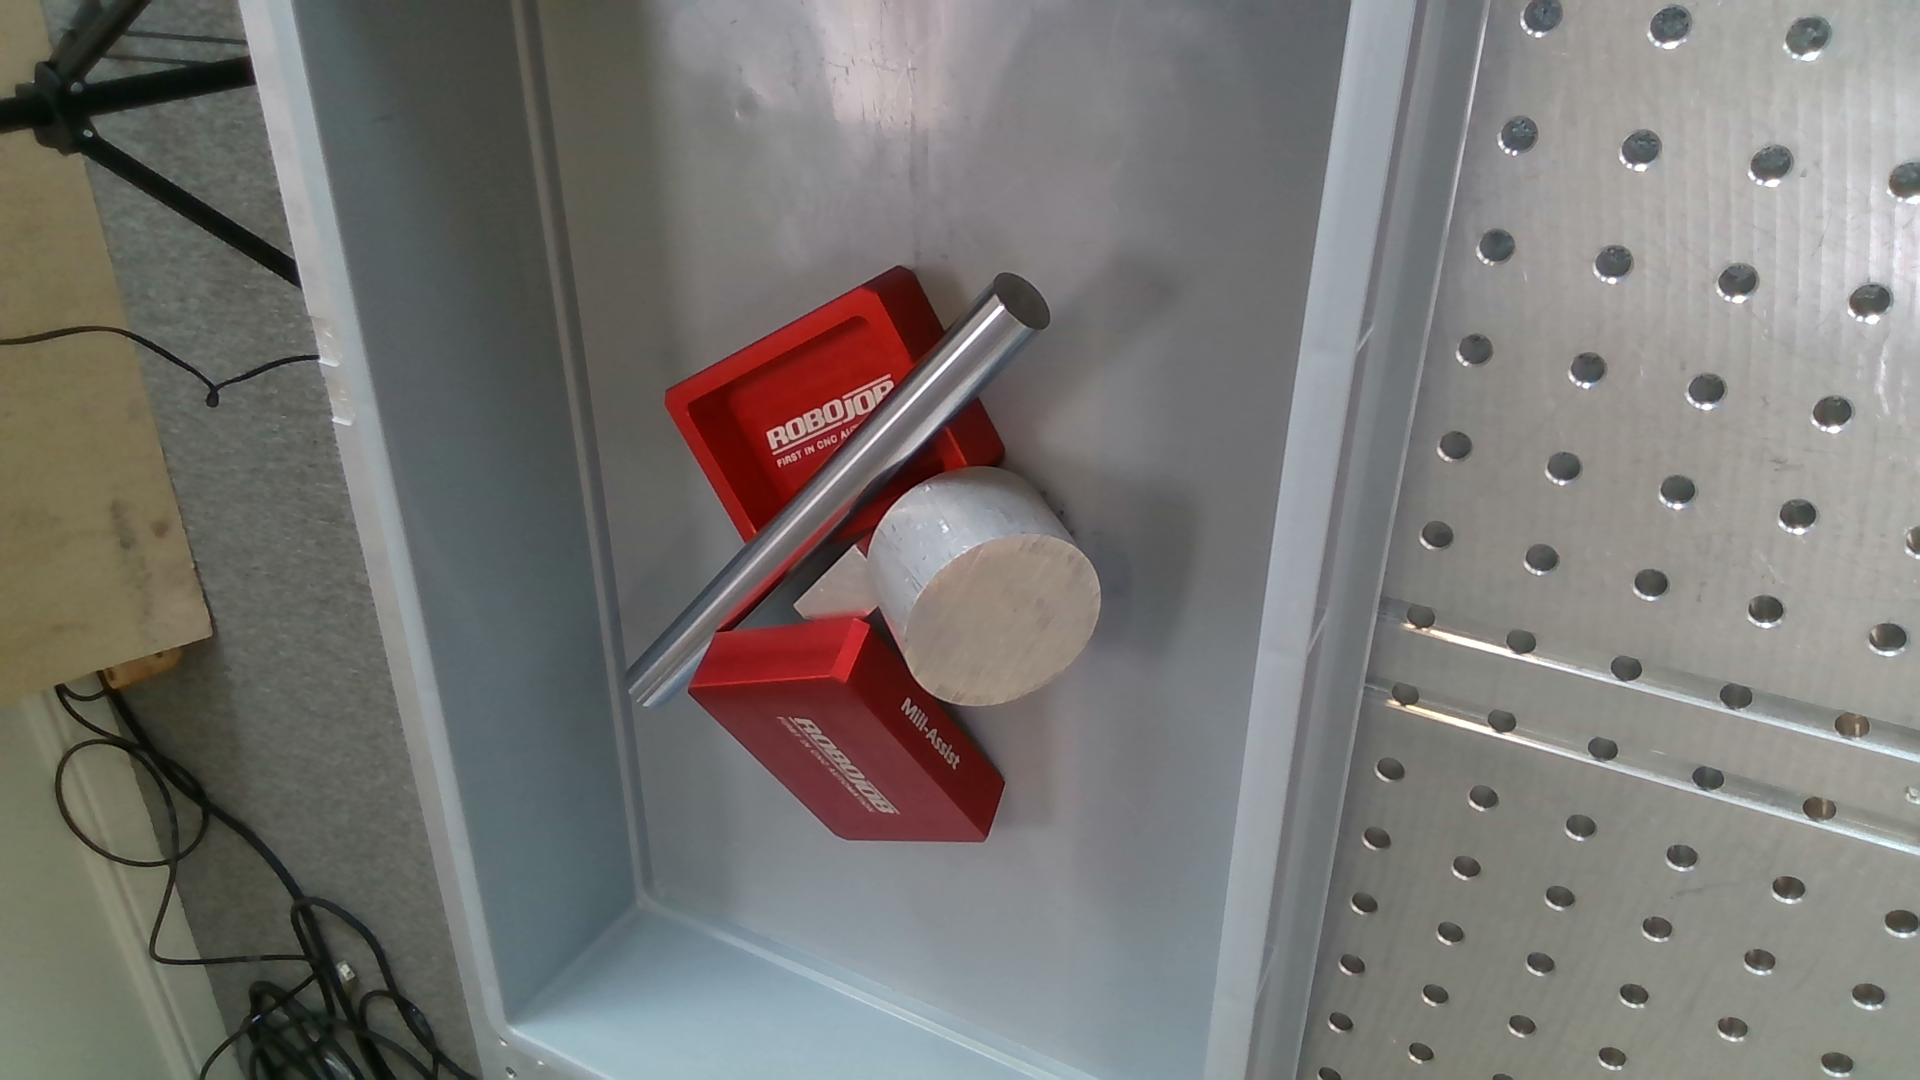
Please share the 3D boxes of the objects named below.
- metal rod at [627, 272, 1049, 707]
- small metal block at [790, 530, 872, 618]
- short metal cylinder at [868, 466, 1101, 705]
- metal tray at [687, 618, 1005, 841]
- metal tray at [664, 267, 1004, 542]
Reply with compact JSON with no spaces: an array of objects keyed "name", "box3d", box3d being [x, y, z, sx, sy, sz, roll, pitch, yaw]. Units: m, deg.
[{"name":"metal rod","box3d":[-0.065,-0.007,0.576,0.025,0.025,0.301,48,130,0]},{"name":"small metal block","box3d":[-0.038,0.014,0.593,0.025,0.050,0.050,48,129,0]},{"name":"short metal cylinder","box3d":[0.008,0.018,0.540,0.050,0.080,0.080,-121,33,-51]},{"name":"metal tray","box3d":[-0.049,0.089,0.622,0.090,0.030,0.130,-7,135,34]},{"name":"metal tray","box3d":[-0.056,-0.049,0.583,0.130,0.030,0.090,-20,104,37]}]
